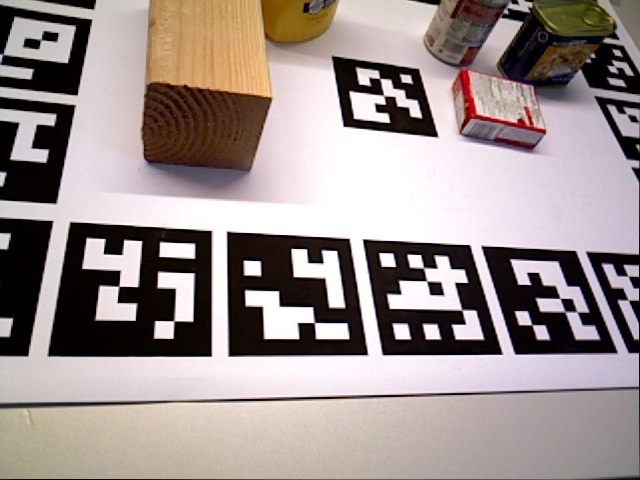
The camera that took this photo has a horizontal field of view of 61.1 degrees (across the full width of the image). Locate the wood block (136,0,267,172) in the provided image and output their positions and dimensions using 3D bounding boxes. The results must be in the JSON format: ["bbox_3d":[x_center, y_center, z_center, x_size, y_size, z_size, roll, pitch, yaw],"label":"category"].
[{"bbox_3d":[-0.102,-0.168,0.459,0.090,0.092,0.203,4,54,-17],"label":"wood block"}]

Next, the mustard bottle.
[{"bbox_3d":[-0.007,-0.277,0.500,0.094,0.196,0.058,-21,66,-30],"label":"mustard bottle"}]

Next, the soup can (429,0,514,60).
[{"bbox_3d":[0.168,-0.255,0.581,0.067,0.104,0.067,7,58,-13],"label":"soup can"}]

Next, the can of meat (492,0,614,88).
[{"bbox_3d":[0.258,-0.220,0.611,0.100,0.086,0.057,-9,62,-25],"label":"can of meat"}]

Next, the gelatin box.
[{"bbox_3d":[0.189,-0.133,0.562,0.089,0.031,0.072,11,58,-8],"label":"gelatin box"}]
